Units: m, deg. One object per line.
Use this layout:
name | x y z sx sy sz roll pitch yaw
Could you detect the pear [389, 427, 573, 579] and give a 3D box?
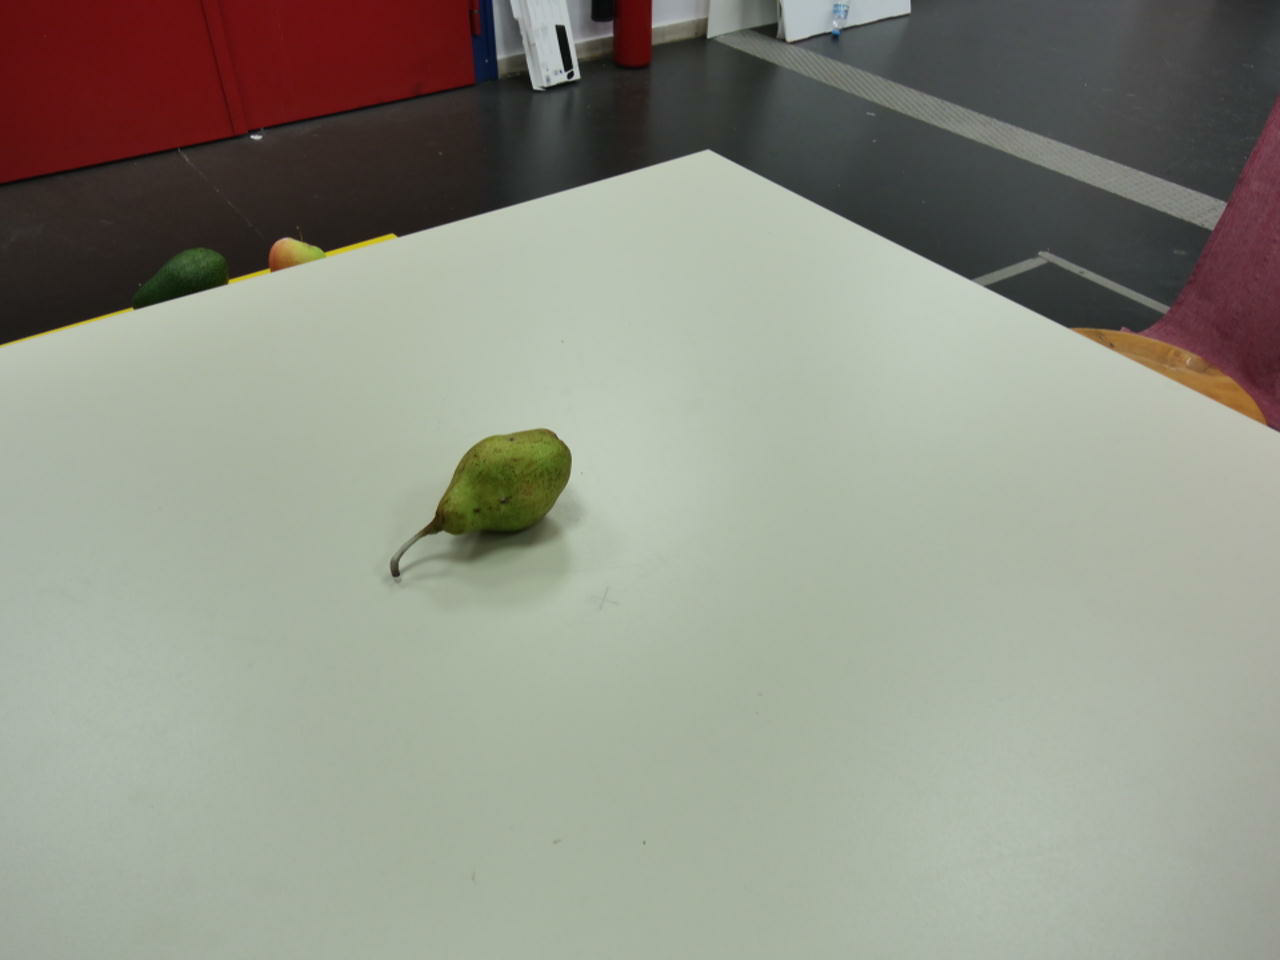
pear | -0.092 0.006 0.555 0.111 0.056 0.056 -14 41 -17
